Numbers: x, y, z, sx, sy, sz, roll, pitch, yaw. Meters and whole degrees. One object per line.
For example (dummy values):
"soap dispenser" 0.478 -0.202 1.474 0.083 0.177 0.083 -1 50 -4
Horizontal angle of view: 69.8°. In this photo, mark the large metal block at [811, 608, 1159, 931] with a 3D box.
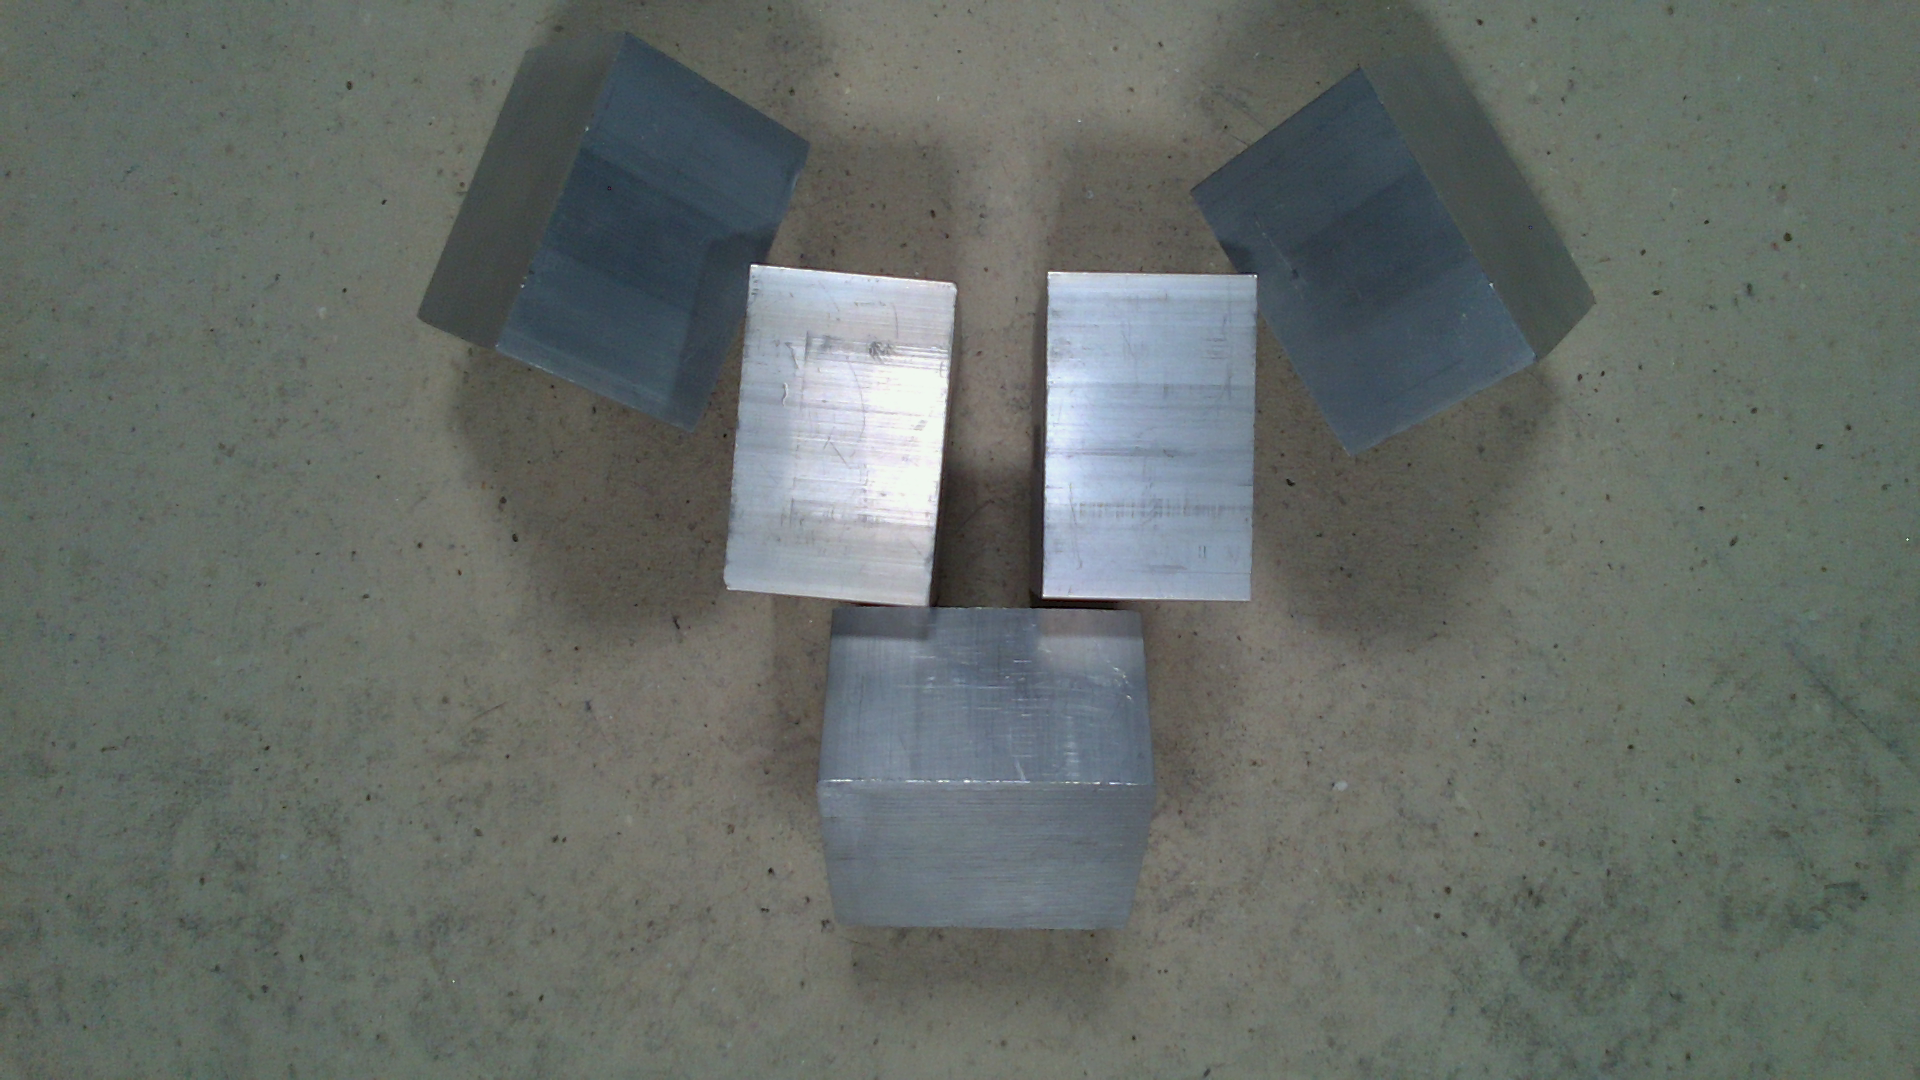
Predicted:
"large metal block" 0.006 0.062 0.362 0.080 0.080 0.050 1 51 0

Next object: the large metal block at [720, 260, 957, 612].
"large metal block" -0.029 -0.025 0.368 0.050 0.080 0.080 5 90 0

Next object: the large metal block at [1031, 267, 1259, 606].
"large metal block" 0.046 -0.025 0.368 0.050 0.080 0.080 1 90 0

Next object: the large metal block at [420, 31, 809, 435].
"large metal block" -0.093 -0.080 0.358 0.050 0.080 0.080 23 90 -36

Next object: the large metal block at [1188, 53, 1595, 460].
"large metal block" 0.116 -0.077 0.362 0.050 0.080 0.080 -31 90 38
